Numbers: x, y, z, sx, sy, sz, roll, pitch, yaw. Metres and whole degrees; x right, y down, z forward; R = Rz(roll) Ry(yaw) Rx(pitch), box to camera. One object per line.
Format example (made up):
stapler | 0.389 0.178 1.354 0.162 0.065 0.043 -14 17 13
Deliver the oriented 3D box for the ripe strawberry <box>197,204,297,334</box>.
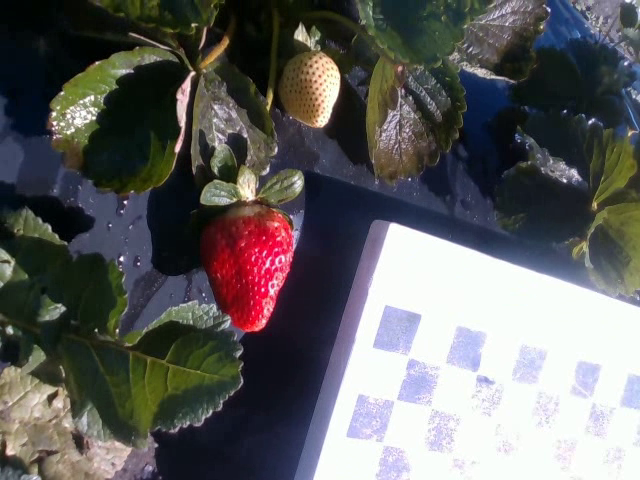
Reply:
ripe strawberry | -0.033 0.014 0.292 0.048 0.069 0.040 -2 1 -23
